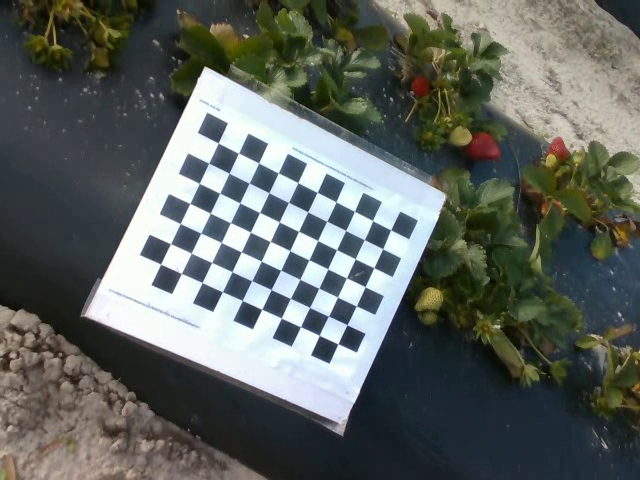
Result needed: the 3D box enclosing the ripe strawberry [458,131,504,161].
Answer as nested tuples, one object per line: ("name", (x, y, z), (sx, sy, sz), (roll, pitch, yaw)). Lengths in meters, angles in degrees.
("ripe strawberry", (0.261, -0.144, 0.981), (0.051, 0.048, 0.055), (-32, 43, -9))
